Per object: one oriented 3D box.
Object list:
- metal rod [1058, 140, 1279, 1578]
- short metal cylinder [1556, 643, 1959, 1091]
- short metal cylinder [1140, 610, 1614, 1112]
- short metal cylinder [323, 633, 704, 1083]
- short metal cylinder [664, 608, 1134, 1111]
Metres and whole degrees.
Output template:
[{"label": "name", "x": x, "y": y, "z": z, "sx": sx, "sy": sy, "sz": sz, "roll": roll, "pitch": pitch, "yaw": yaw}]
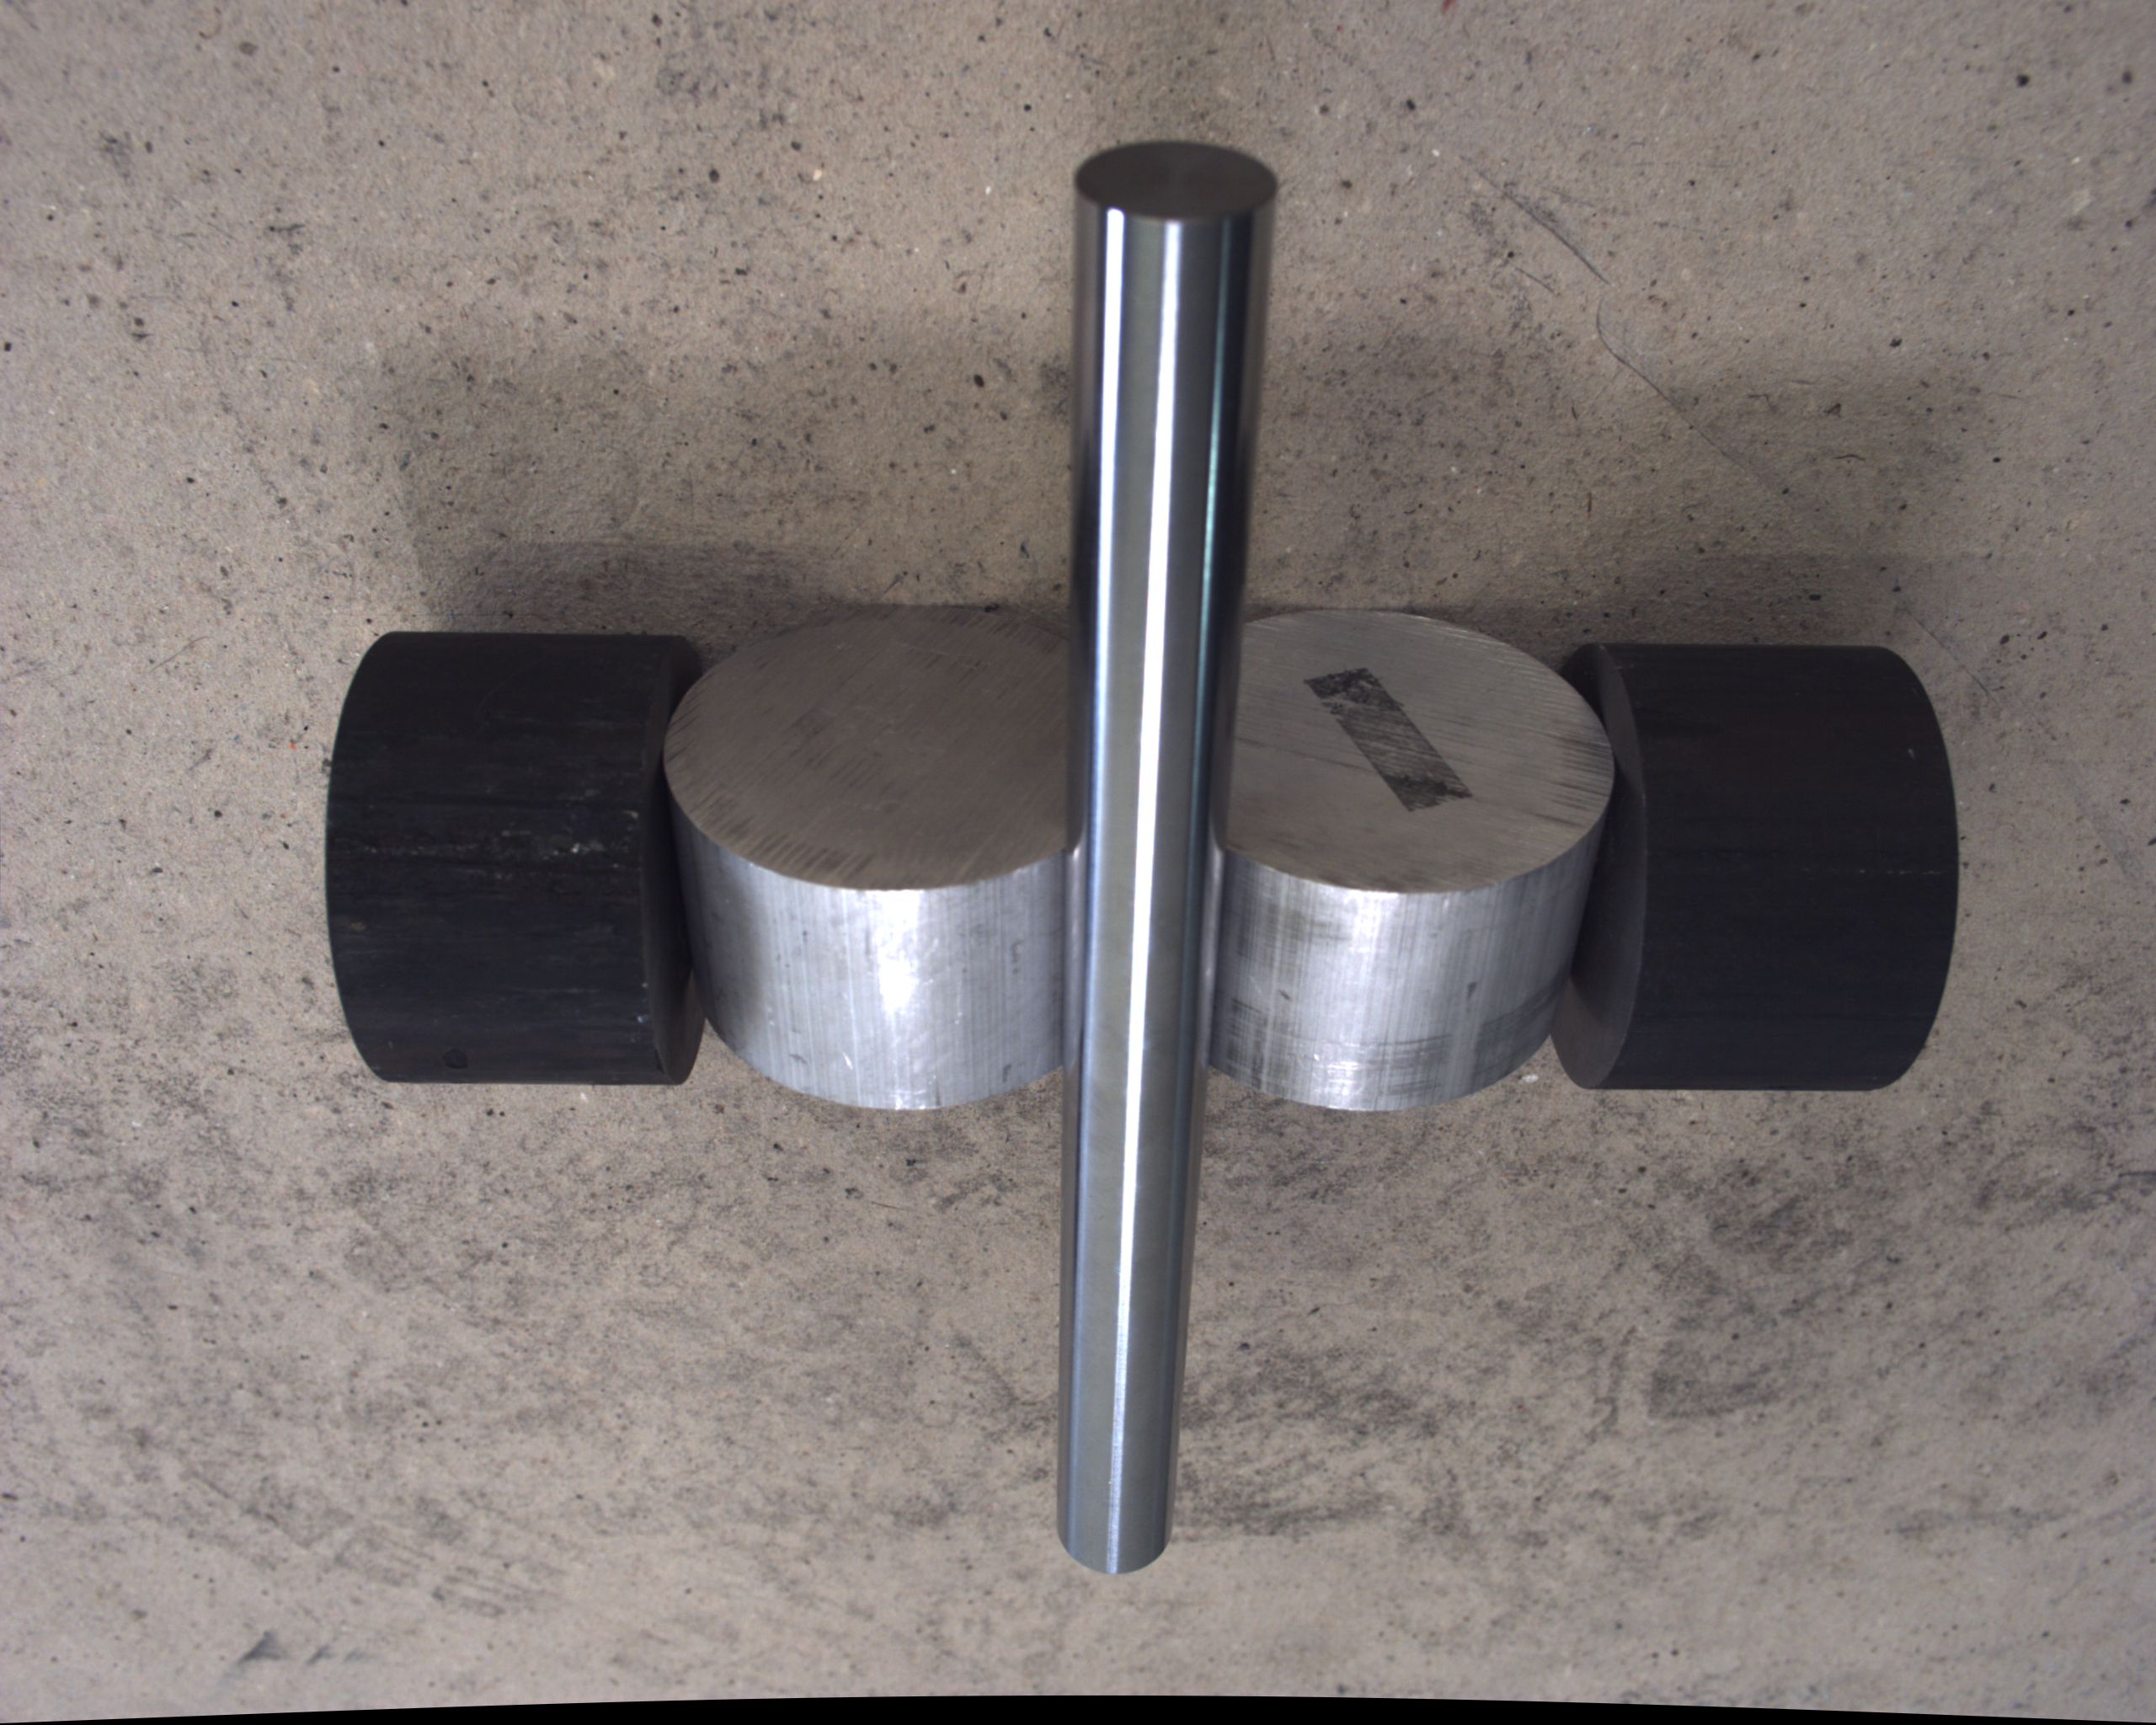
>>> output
[{"label": "metal rod", "x": 0.010, "y": 0.029, "z": 0.353, "sx": 0.025, "sy": 0.025, "sz": 0.298, "roll": 0, "pitch": 130, "yaw": -1}, {"label": "short metal cylinder", "x": 0.116, "y": 0.001, "z": 0.375, "sx": 0.050, "sy": 0.080, "sz": 0.079, "roll": 1, "pitch": 130, "yaw": -1}, {"label": "short metal cylinder", "x": 0.050, "y": -0.002, "z": 0.371, "sx": 0.081, "sy": 0.080, "sz": 0.050, "roll": 1, "pitch": 130, "yaw": -1}, {"label": "short metal cylinder", "x": -0.095, "y": -0.001, "z": 0.371, "sx": 0.050, "sy": 0.080, "sz": 0.079, "roll": 1, "pitch": 130, "yaw": -1}, {"label": "short metal cylinder", "x": -0.030, "y": -0.002, "z": 0.371, "sx": 0.081, "sy": 0.080, "sz": 0.050, "roll": 1, "pitch": 130, "yaw": -1}]
